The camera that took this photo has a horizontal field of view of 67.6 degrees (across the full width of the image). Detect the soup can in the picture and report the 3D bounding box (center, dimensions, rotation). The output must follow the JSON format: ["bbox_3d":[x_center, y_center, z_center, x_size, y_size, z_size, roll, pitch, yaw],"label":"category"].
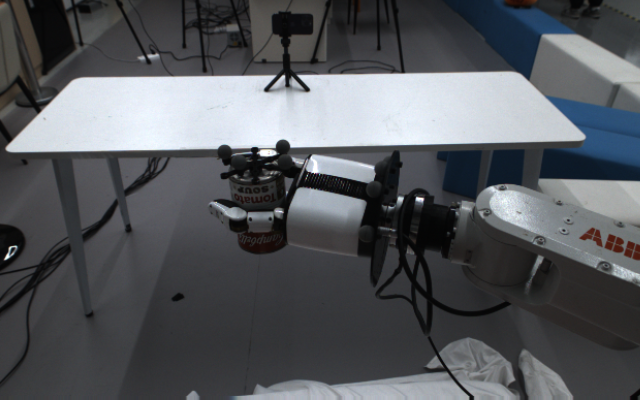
[{"bbox_3d":[-0.071,0.006,0.591,0.067,0.101,0.067,-2,33,1],"label":"soup can"}]
